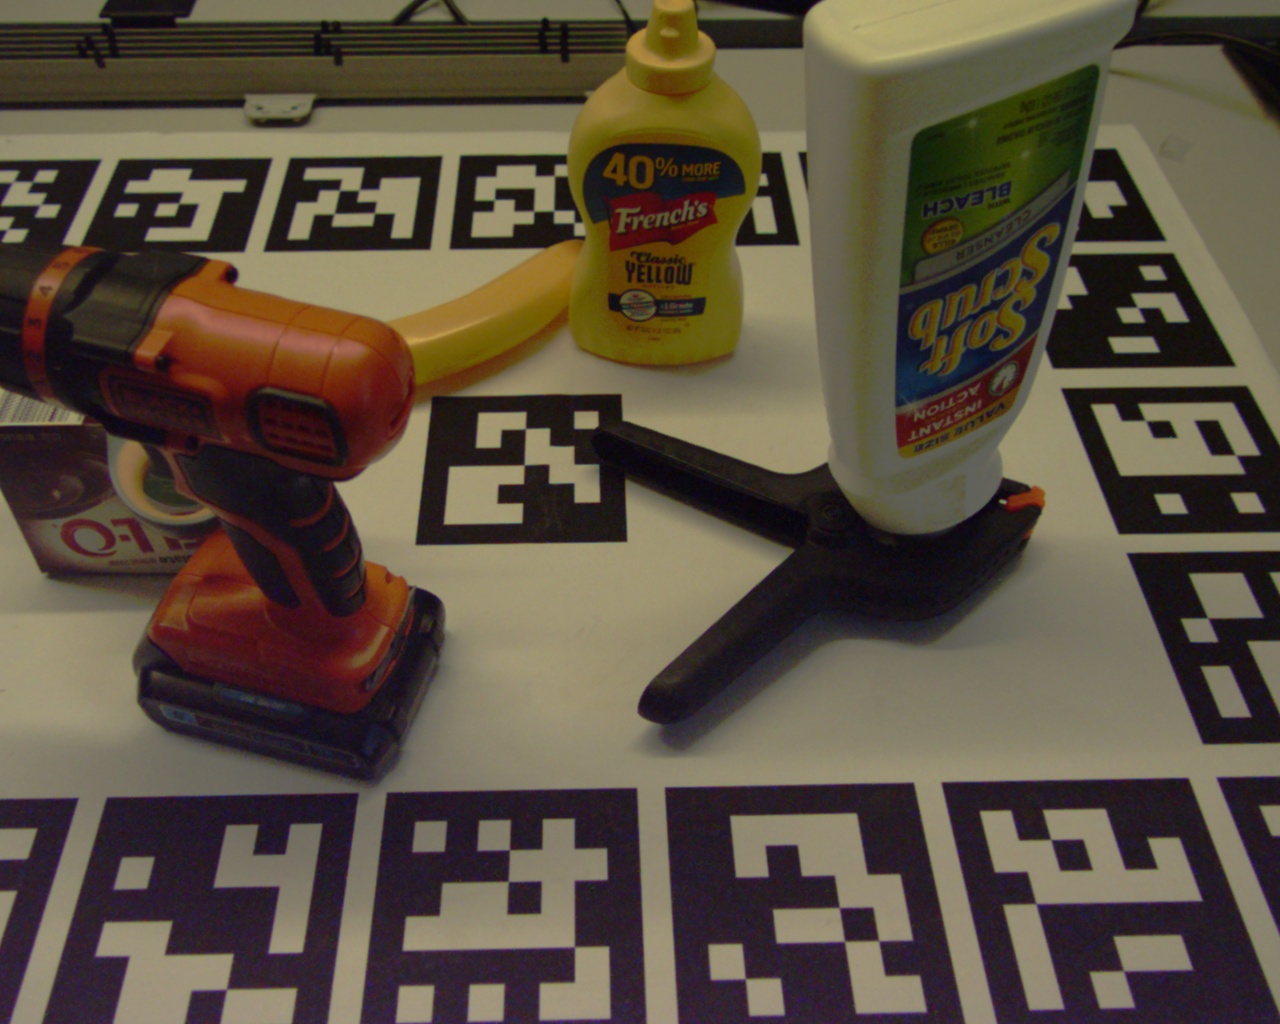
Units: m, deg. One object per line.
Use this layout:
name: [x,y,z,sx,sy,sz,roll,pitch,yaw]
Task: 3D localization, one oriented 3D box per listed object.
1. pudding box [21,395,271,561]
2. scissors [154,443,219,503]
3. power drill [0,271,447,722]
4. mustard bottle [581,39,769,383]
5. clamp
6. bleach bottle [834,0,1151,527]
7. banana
pudding box: [-0.221,-0.020,0.546,0.114,0.090,0.039,3,43,1]
scissors: [-0.228,-0.067,0.501,0.204,0.016,0.087,22,57,11]
power drill: [-0.157,-0.005,0.434,0.185,0.186,0.057,9,43,9]
mustard bottle: [0.018,-0.156,0.604,0.096,0.191,0.058,12,50,6]
clamp: [0.094,0.001,0.549,0.202,0.036,0.166,-5,52,-7]
bleach bottle: [0.132,-0.079,0.480,0.102,0.249,0.068,-19,49,-8]
banana: [-0.092,-0.125,0.661,0.196,0.038,0.075,-34,42,-25]
